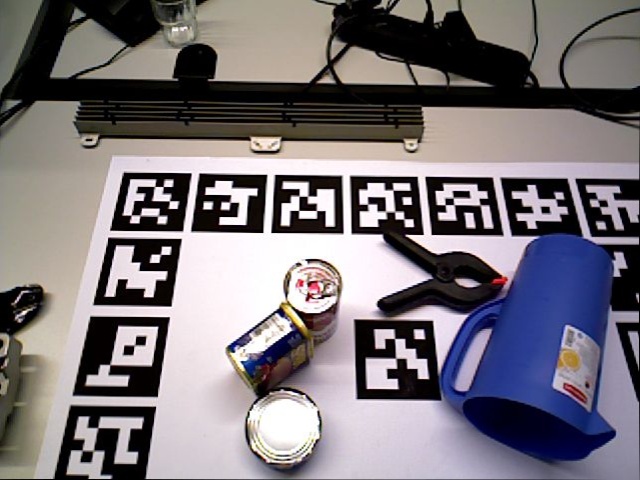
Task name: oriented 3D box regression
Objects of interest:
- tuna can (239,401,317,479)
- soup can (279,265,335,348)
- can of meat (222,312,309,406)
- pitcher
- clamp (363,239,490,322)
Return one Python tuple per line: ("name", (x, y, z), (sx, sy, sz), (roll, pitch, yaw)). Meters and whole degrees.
("tuna can", (-0.047, 0.227, 0.609), (0.085, 0.034, 0.084), (0, 63, 0))
("soup can", (-0.016, 0.082, 0.652), (0.067, 0.104, 0.067), (-1, 62, 1))
("can of meat", (-0.063, 0.138, 0.616), (0.083, 0.103, 0.057), (-33, 67, -14))
("pitcher", (0.252, 0.123, 0.608), (0.190, 0.135, 0.237), (8, 51, 29))
("clamp", (0.139, 0.057, 0.715), (0.164, 0.037, 0.120), (4, 57, -2))
